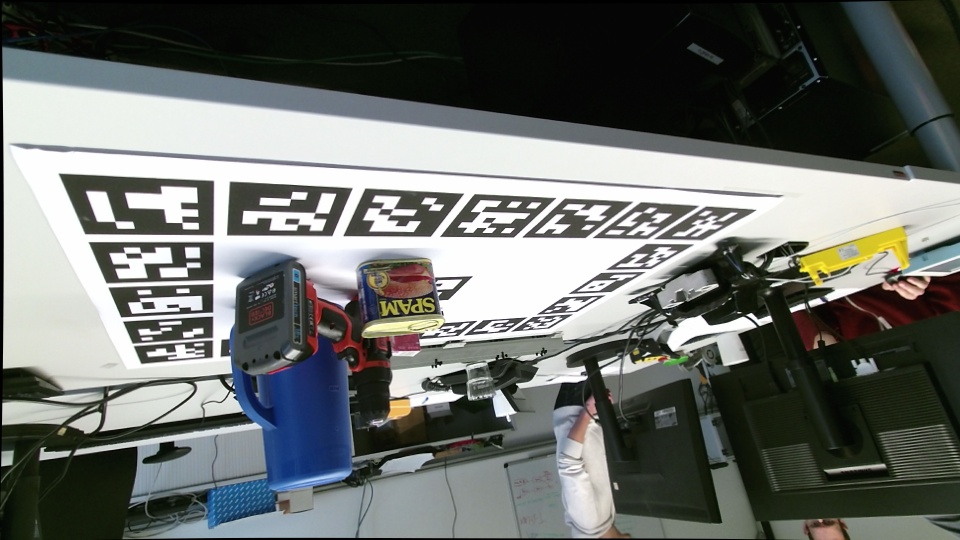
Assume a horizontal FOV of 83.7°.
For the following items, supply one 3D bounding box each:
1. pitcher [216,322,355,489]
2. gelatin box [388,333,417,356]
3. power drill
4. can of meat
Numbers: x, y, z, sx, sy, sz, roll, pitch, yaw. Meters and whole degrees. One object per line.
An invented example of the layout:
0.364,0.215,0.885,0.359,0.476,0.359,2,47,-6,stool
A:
-0.261,0.170,0.736,0.133,0.241,0.189,-28,161,24,pitcher
-0.147,0.095,0.827,0.090,0.073,0.030,6,147,-36,gelatin box
-0.181,0.104,0.683,0.057,0.183,0.187,-26,149,22,power drill
-0.104,0.033,0.679,0.102,0.083,0.058,-2,157,-26,can of meat
